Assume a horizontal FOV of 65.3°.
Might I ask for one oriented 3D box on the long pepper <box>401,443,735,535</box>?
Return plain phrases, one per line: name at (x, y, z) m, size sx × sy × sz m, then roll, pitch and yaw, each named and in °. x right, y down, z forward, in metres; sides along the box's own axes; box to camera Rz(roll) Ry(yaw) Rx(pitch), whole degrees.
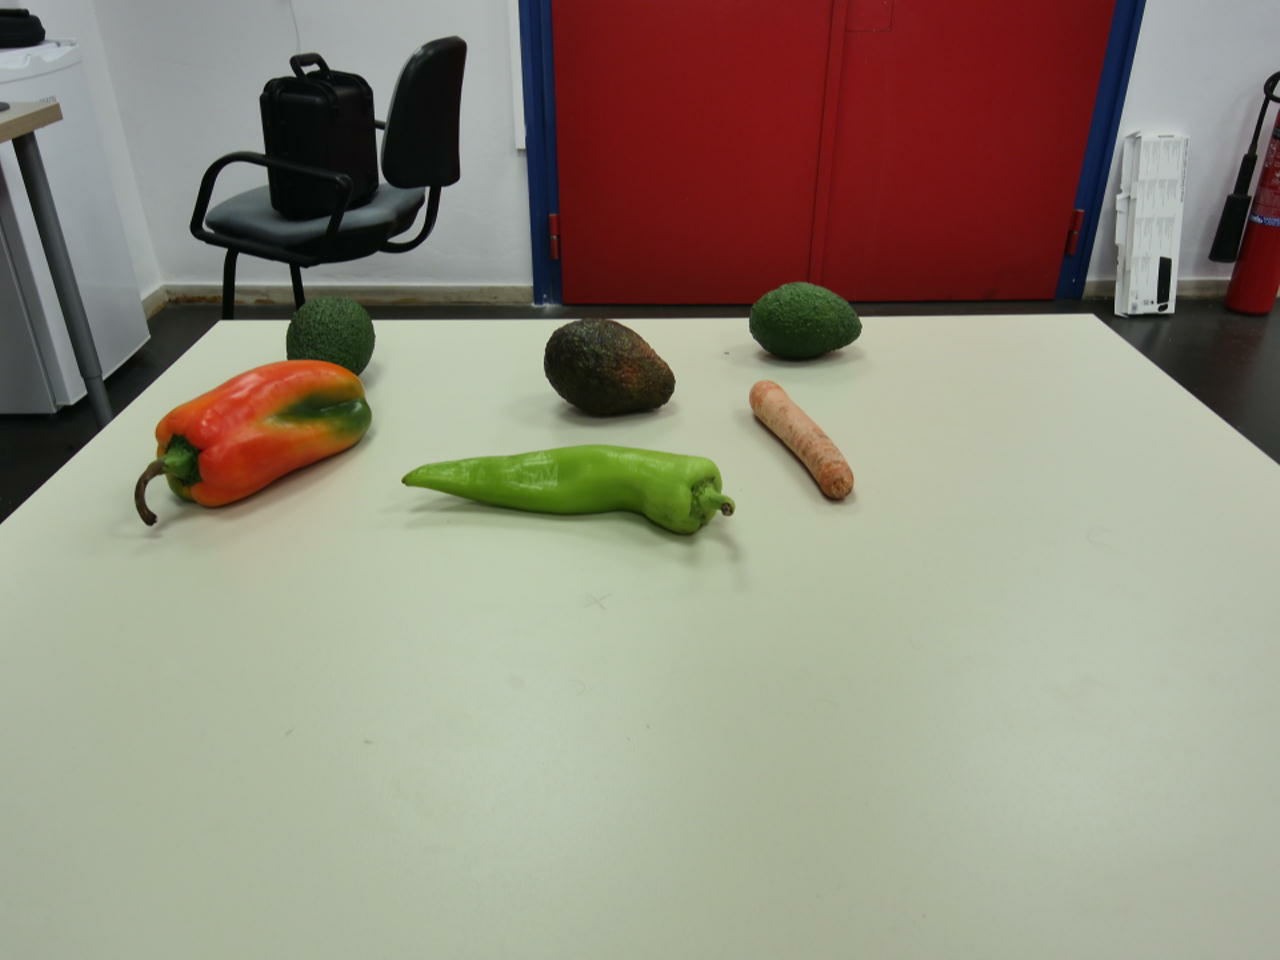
long pepper at (-0.038, 0.001, 0.600) m, size 0.205 × 0.045 × 0.065 m, roll 8°, pitch 27°, yaw 14°
